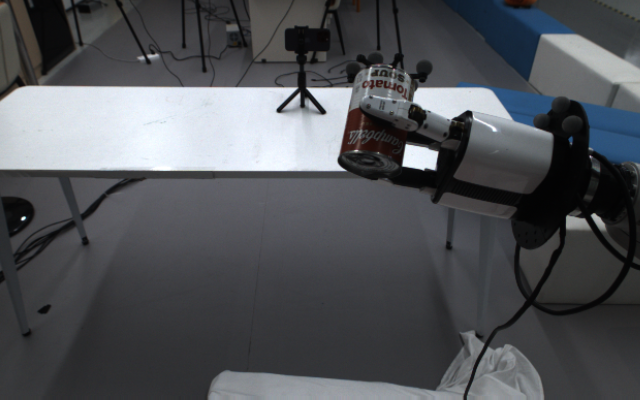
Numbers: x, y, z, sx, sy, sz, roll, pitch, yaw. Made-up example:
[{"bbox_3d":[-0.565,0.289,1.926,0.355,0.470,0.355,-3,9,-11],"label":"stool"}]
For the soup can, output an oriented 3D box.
[{"bbox_3d":[0.063,-0.084,0.515,0.067,0.067,0.101,9,74,9],"label":"soup can"}]
